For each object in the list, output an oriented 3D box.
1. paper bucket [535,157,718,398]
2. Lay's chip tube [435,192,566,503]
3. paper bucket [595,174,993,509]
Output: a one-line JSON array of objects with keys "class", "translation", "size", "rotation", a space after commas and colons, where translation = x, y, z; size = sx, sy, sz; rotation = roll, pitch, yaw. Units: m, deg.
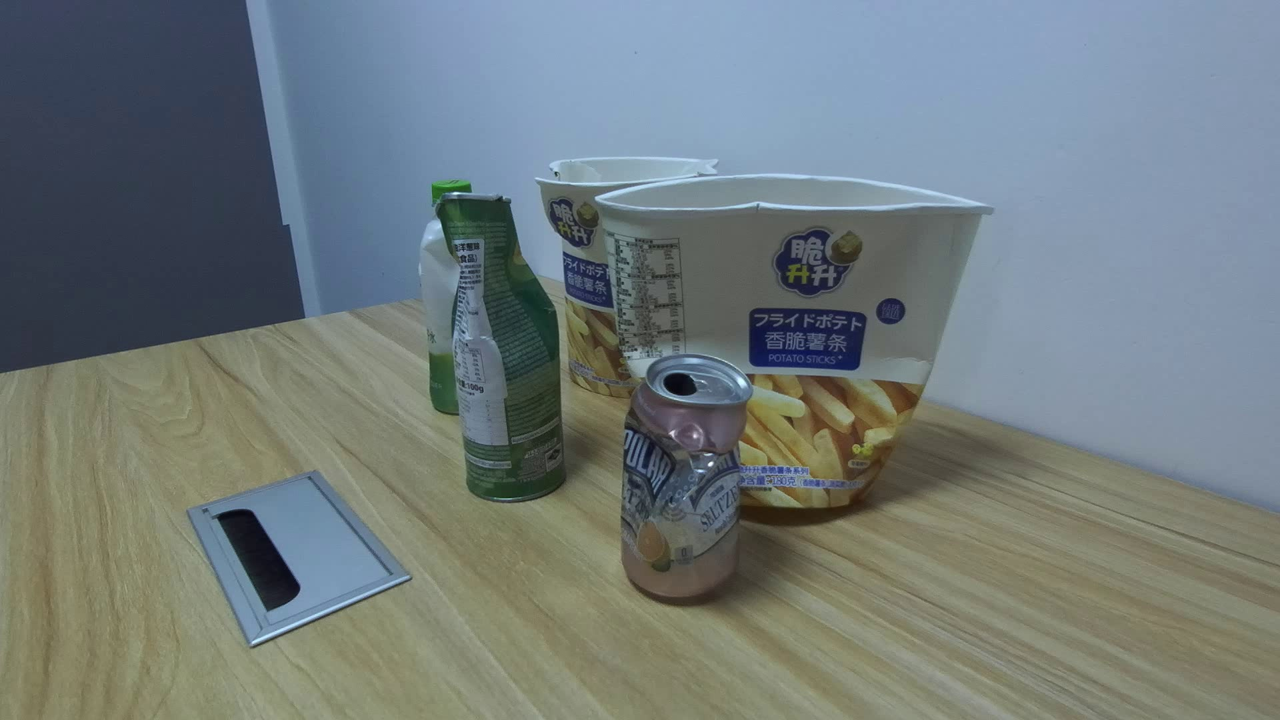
[{"class": "paper bucket", "translation": [0.005, -0.087, 0.663], "size": [0.146, 0.197, 0.202], "rotation": [-6, 19, 2]}, {"class": "Lay's chip tube", "translation": [-0.094, -0.010, 0.470], "size": [0.070, 0.199, 0.079], "rotation": [7, 19, 39]}, {"class": "paper bucket", "translation": [0.095, -0.016, 0.469], "size": [0.219, 0.199, 0.147], "rotation": [-11, 24, -26]}]
